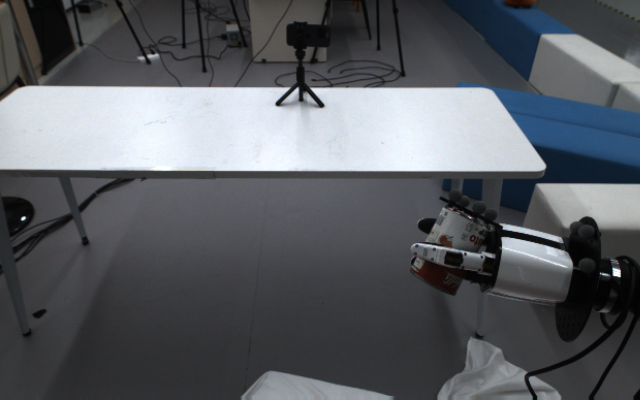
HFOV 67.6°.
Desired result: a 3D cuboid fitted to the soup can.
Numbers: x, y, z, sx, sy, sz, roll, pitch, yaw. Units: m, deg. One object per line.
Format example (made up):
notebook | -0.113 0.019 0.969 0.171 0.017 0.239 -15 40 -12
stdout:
soup can | 0.174 0.065 0.641 0.067 0.101 0.067 25 5 -3
